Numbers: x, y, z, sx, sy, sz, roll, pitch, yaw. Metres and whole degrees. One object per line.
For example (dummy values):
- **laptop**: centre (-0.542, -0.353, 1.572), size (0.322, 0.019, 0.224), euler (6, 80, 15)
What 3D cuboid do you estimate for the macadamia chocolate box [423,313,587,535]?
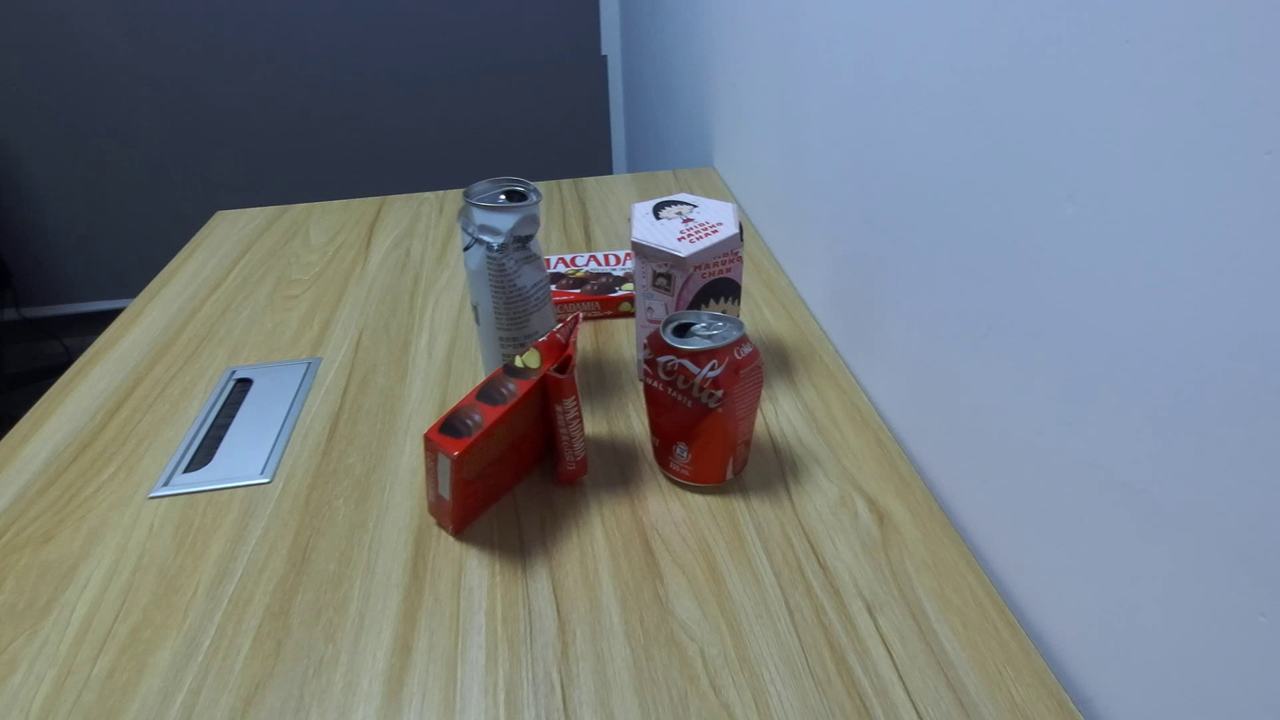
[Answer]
- **macadamia chocolate box**: centre (-0.079, 0.044, 0.452), size (0.127, 0.112, 0.056), euler (-31, 44, -34)

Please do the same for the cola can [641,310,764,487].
- **cola can**: centre (0.042, 0.026, 0.465), size (0.066, 0.112, 0.069), euler (-19, 37, -22)

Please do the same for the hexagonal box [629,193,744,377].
- **hexagonal box**: centre (0.036, -0.052, 0.558), size (0.092, 0.135, 0.084), euler (-17, 37, -20)

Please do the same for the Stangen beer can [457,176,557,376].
- **Stangen beer can**: centre (-0.095, -0.049, 0.539), size (0.066, 0.166, 0.065), euler (-23, 40, -29)

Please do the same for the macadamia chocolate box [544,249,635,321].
- **macadamia chocolate box**: centre (-0.021, -0.075, 0.695), size (0.187, 0.027, 0.102), euler (-6, 37, -3)
